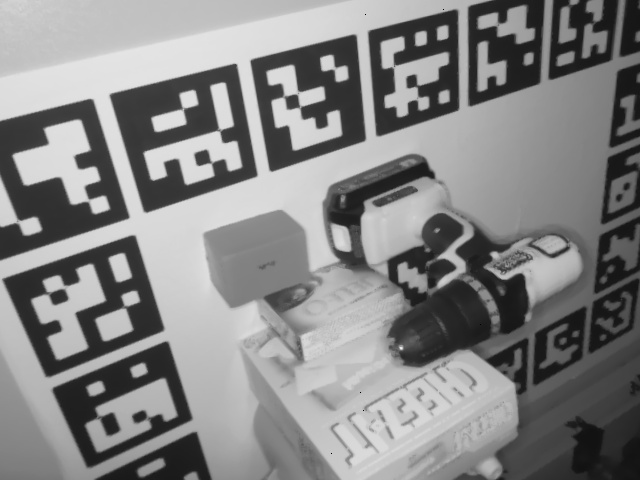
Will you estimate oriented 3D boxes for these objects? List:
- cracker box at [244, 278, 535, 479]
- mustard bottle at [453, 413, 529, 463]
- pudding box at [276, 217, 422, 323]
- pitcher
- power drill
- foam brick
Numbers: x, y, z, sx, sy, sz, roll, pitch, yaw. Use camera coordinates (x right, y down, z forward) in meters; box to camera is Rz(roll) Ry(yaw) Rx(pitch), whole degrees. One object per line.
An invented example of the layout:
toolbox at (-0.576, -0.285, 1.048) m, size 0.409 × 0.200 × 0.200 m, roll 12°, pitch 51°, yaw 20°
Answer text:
cracker box at (0.051, 0.089, 0.600) m, size 0.166 × 0.212 × 0.071 m, roll -19°, pitch 121°, yaw -23°
mustard bottle at (0.133, 0.156, 0.682) m, size 0.097 × 0.190 × 0.058 m, roll -2°, pitch 111°, yaw -28°
pudding box at (0.030, 0.024, 0.627) m, size 0.115 × 0.089 × 0.038 m, roll -16°, pitch 119°, yaw -25°
pitcher at (0.019, 0.194, 0.621) m, size 0.191 × 0.241 × 0.132 m, roll -10°, pitch 116°, yaw -27°
power drill at (0.111, -0.022, 0.569) m, size 0.187 × 0.186 × 0.057 m, roll -17°, pitch 121°, yaw -21°
foam brick at (-0.041, -0.031, 0.604) m, size 0.079 × 0.051 × 0.052 m, roll -14°, pitch 115°, yaw -23°
